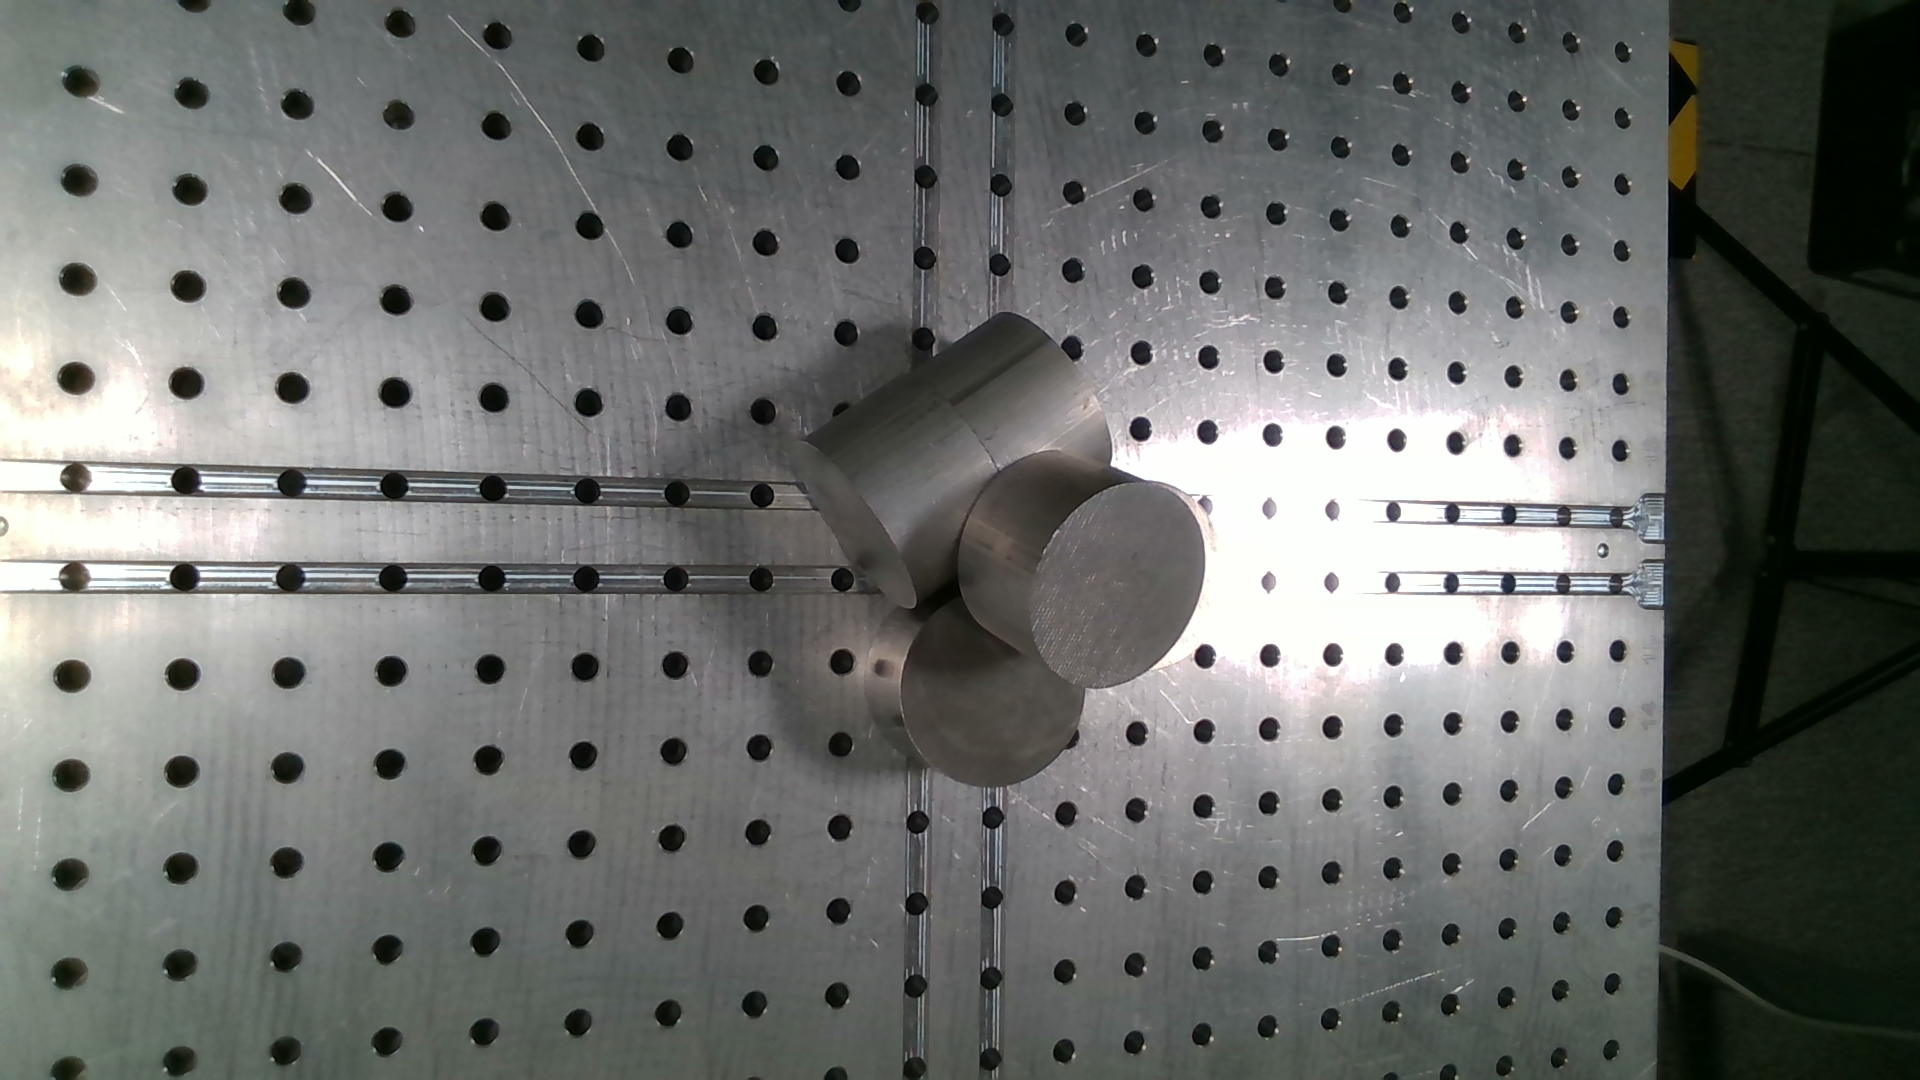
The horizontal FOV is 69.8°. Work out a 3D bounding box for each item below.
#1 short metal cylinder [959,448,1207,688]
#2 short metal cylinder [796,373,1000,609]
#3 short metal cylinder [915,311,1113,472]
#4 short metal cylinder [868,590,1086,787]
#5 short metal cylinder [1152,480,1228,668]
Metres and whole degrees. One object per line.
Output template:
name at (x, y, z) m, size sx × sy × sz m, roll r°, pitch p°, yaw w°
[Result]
short metal cylinder at (0.047, 0.010, 0.524) m, size 0.080 × 0.050 × 0.080 m, roll -12°, pitch 113°, yaw -29°
short metal cylinder at (-0.023, -0.019, 0.550) m, size 0.050 × 0.080 × 0.080 m, roll -36°, pitch 102°, yaw -17°
short metal cylinder at (0.017, -0.046, 0.565) m, size 0.050 × 0.080 × 0.080 m, roll -36°, pitch 102°, yaw -17°
short metal cylinder at (0.006, 0.059, 0.576) m, size 0.080 × 0.050 × 0.080 m, roll 0°, pitch 90°, yaw -20°
short metal cylinder at (0.069, 0.015, 0.600) m, size 0.080 × 0.050 × 0.080 m, roll 0°, pitch 90°, yaw -20°
